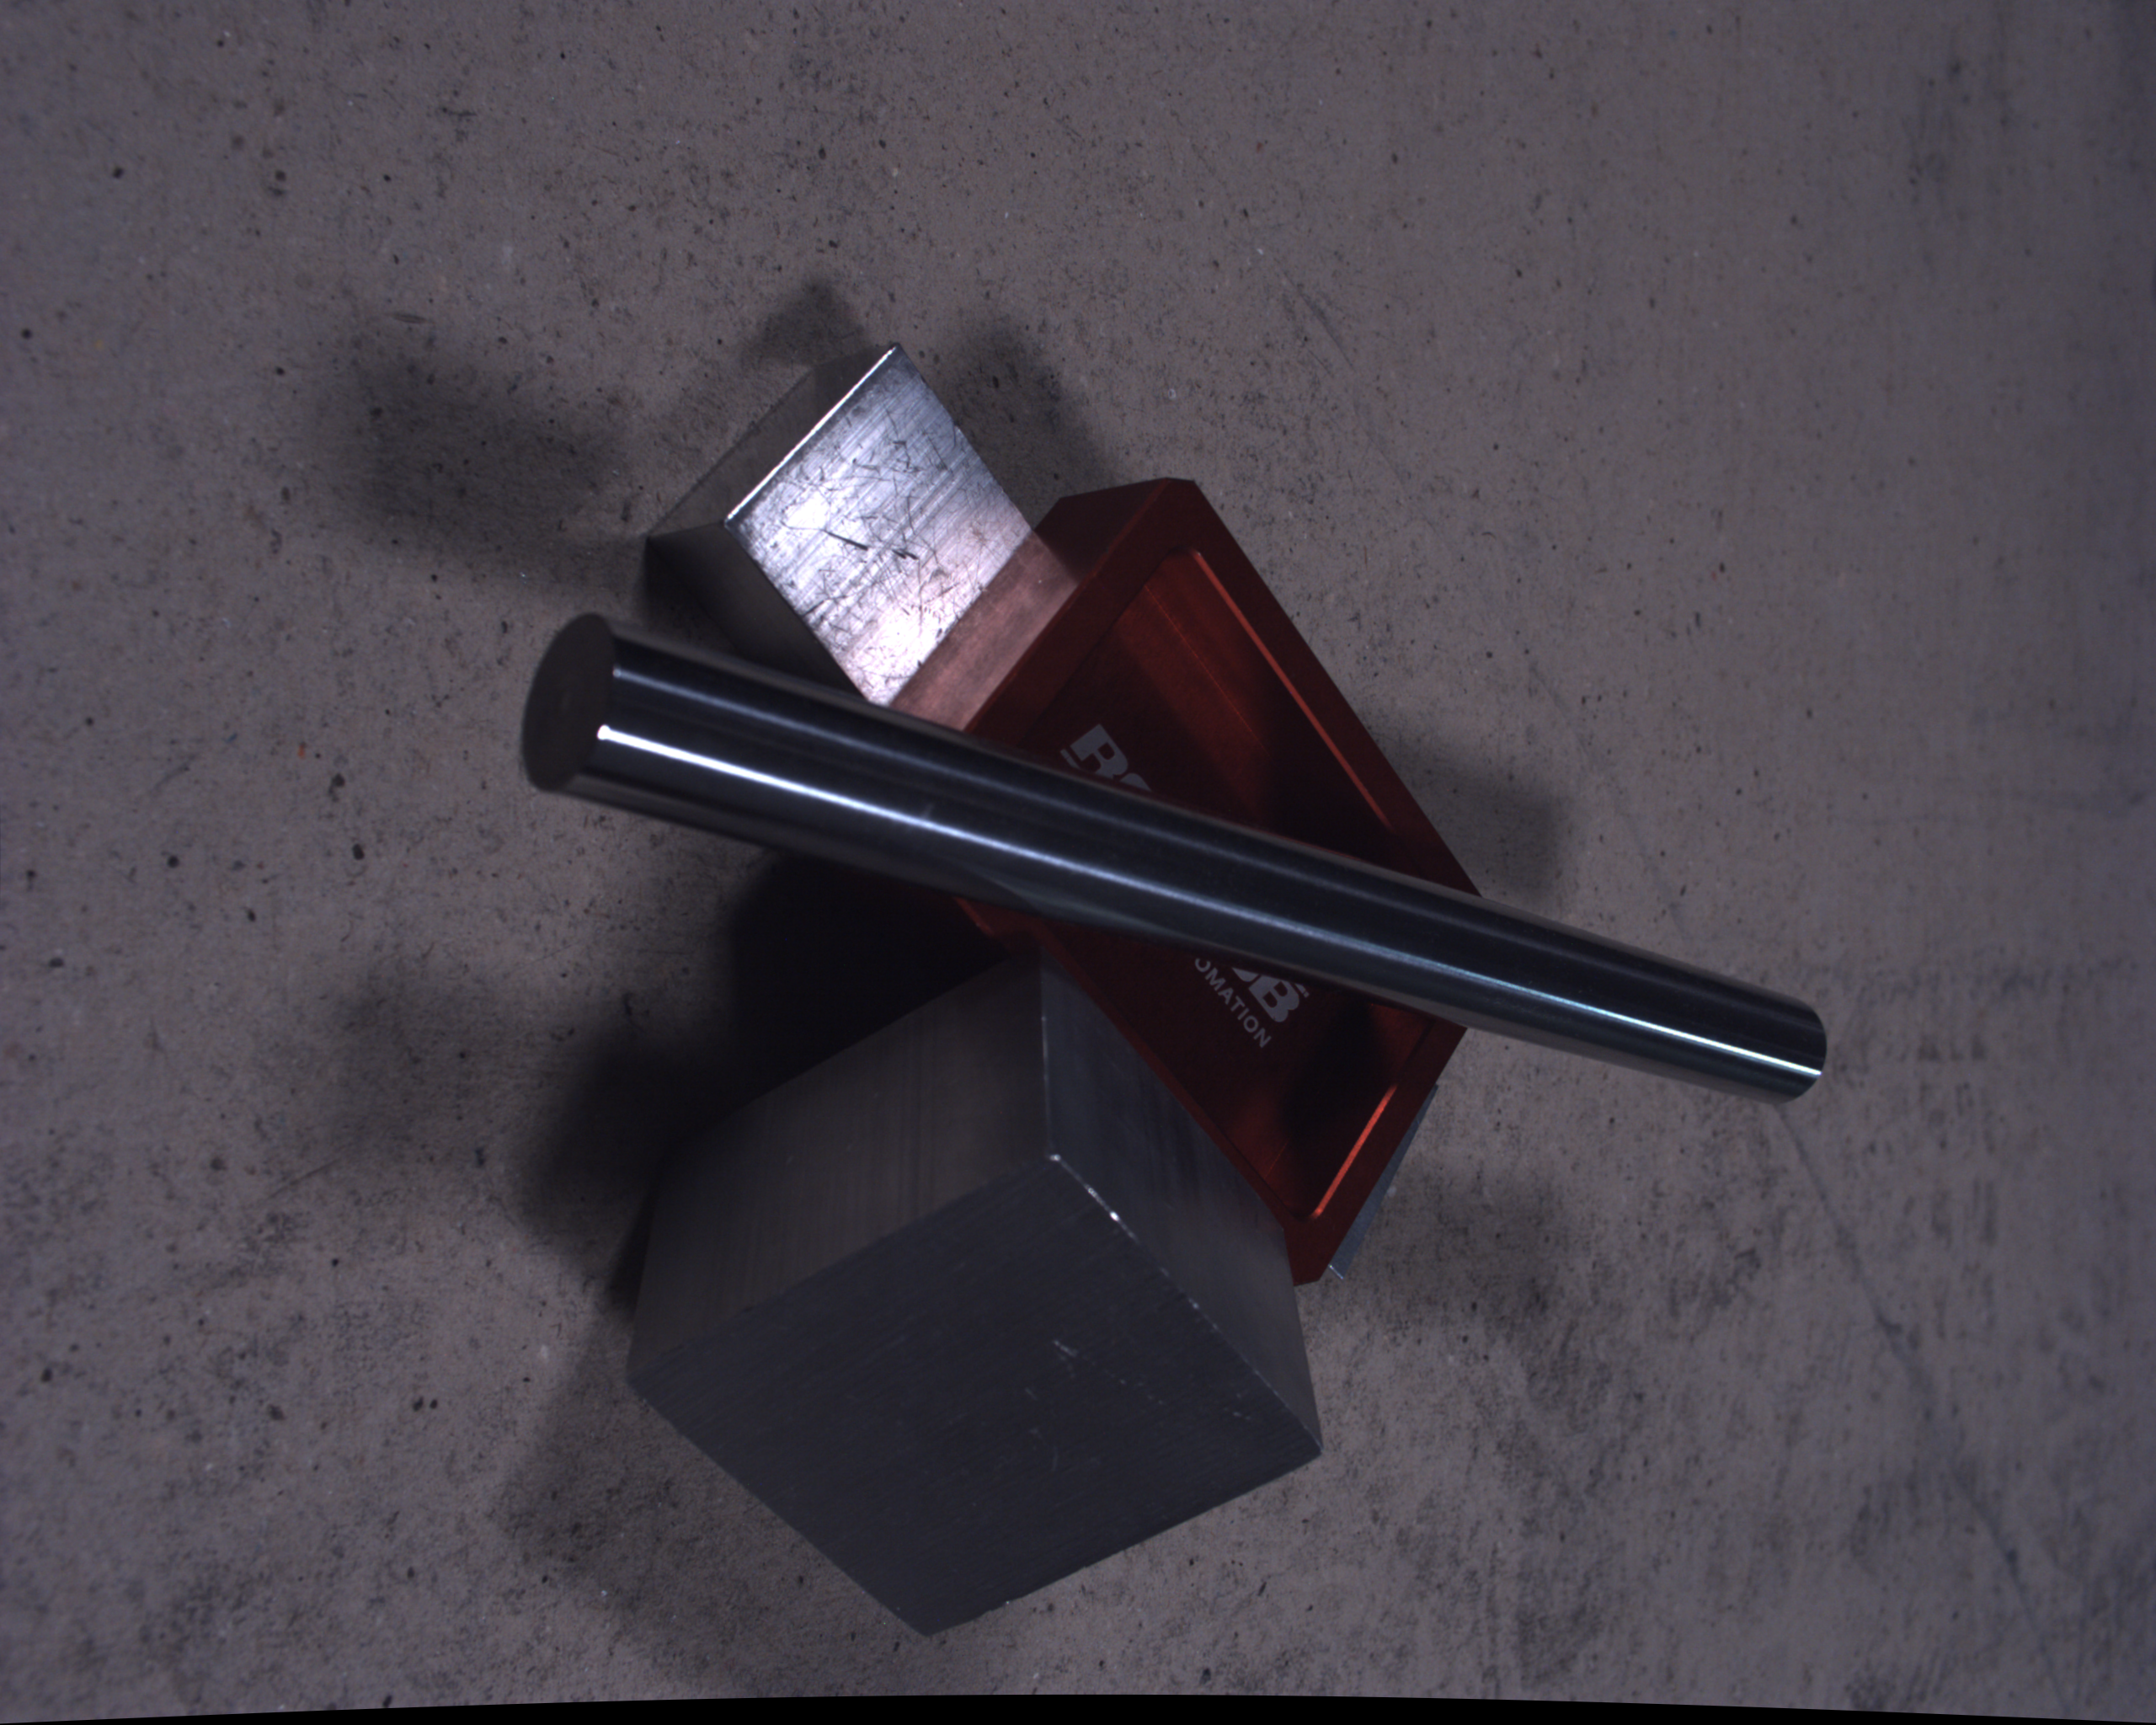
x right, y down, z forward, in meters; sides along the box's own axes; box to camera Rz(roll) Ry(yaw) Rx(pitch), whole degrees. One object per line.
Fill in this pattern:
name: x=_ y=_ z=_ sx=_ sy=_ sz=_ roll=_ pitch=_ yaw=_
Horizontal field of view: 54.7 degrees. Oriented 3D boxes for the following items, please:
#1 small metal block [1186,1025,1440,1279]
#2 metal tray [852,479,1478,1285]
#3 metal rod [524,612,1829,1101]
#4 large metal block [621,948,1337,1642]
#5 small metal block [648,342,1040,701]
small metal block: x=0.045 y=0.053 z=0.446 sx=0.050 sy=0.025 sz=0.050 roll=46 pitch=62 yaw=-31
metal tray: x=0.022 y=0.006 z=0.390 sx=0.130 sy=0.030 sz=0.090 roll=51 pitch=60 yaw=-28
metal rod: x=0.045 y=0.010 z=0.374 sx=0.302 sy=0.025 sz=0.025 roll=16 pitch=80 yaw=-39
large metal block: x=-0.015 y=0.074 z=0.349 sx=0.080 sy=0.080 sz=0.050 roll=51 pitch=18 yaw=-28
small metal block: x=-0.039 y=-0.056 z=0.375 sx=0.050 sy=0.025 sz=0.050 roll=52 pitch=59 yaw=-28
